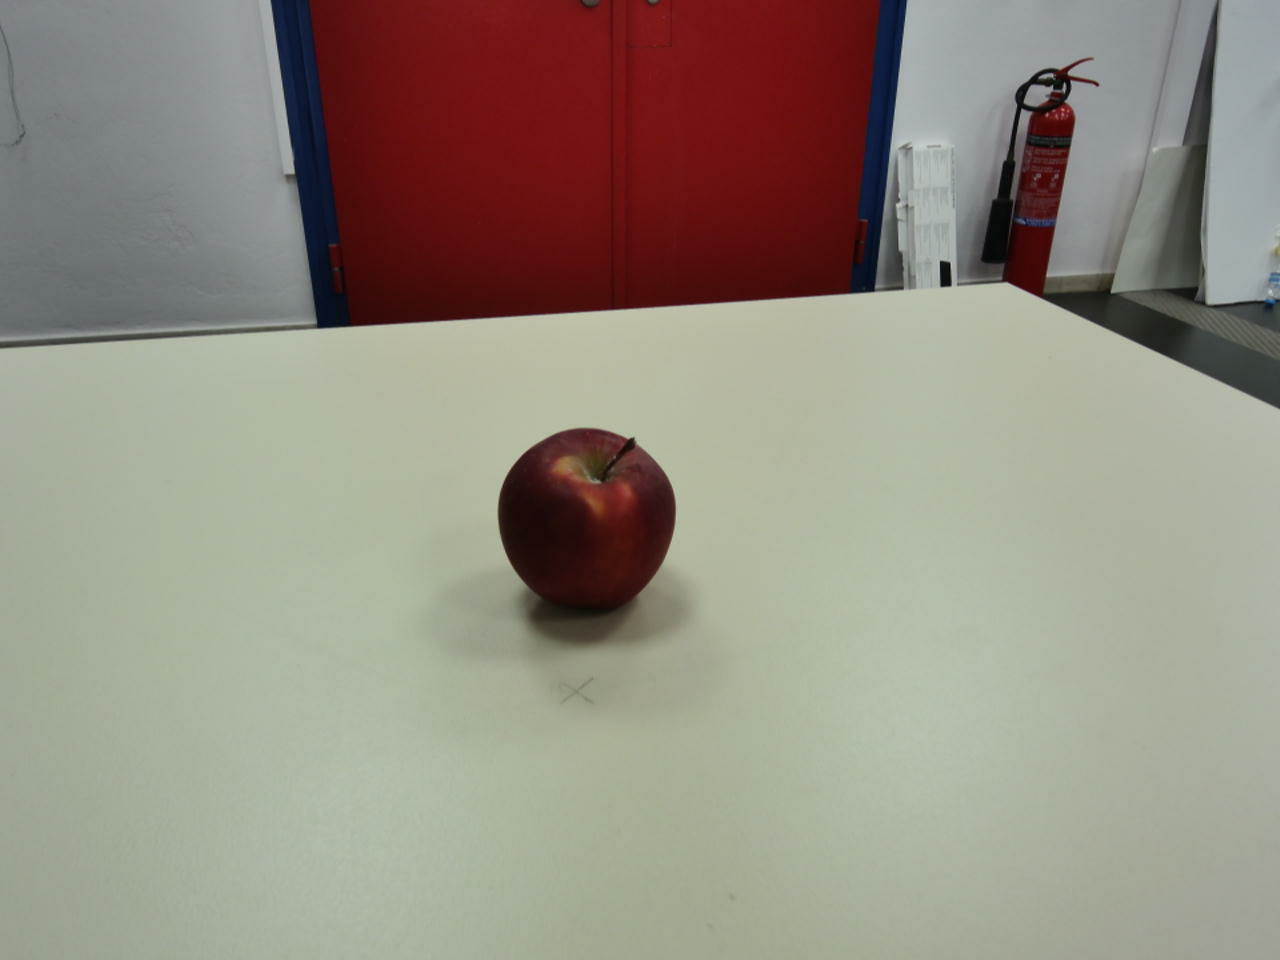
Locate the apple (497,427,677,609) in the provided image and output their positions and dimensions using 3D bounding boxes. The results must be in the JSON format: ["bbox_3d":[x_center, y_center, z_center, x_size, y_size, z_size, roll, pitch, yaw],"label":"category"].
[{"bbox_3d":[-0.020,0.016,0.391,0.070,0.072,0.070,0,24,0],"label":"apple"}]
